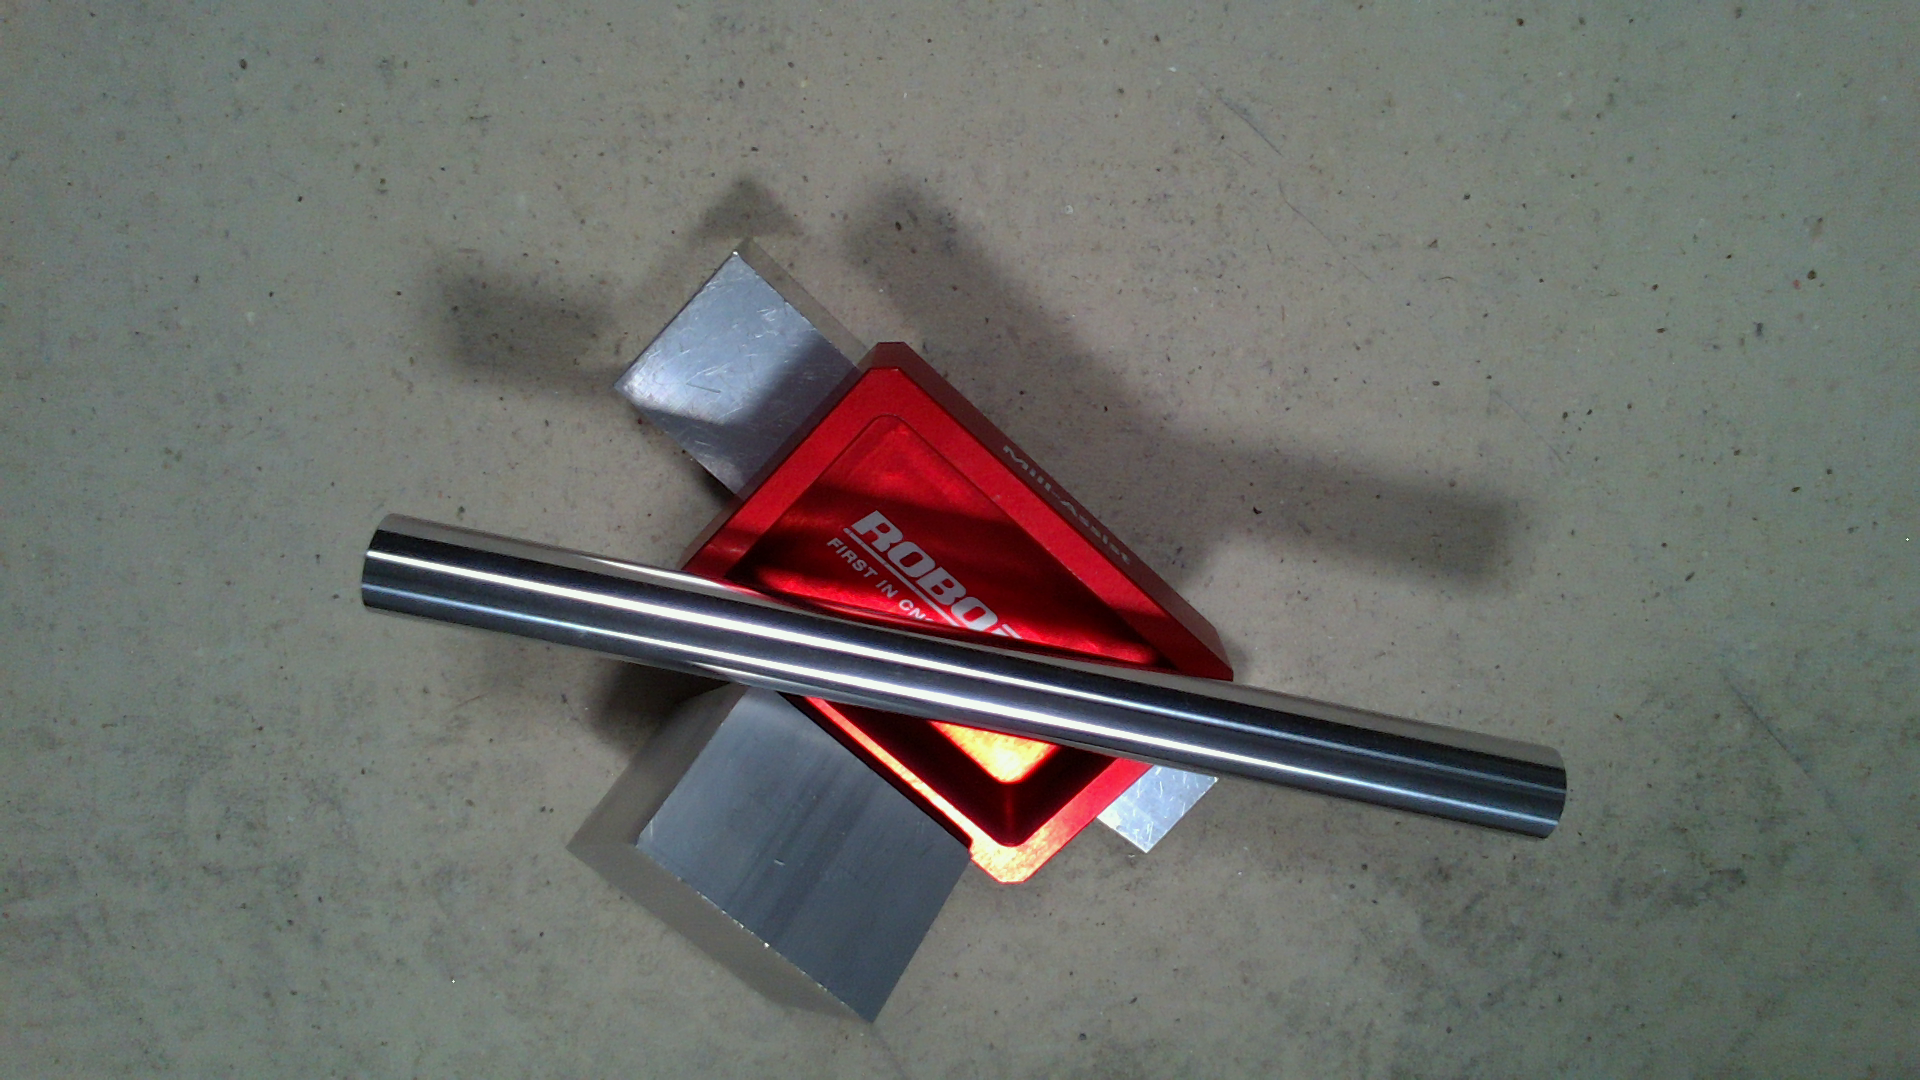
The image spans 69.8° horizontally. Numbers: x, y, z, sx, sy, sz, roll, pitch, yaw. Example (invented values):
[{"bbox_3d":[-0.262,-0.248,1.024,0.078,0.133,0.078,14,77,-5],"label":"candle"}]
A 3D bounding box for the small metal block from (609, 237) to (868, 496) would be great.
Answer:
[{"bbox_3d":[-0.058,-0.046,0.377,0.050,0.025,0.050,43,105,-14],"label":"small metal block"}]

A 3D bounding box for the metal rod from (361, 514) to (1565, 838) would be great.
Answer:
[{"bbox_3d":[0.005,0.036,0.348,0.300,0.025,0.025,12,110,-4],"label":"metal rod"}]

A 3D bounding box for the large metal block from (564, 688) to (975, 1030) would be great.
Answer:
[{"bbox_3d":[-0.056,0.089,0.388,0.080,0.080,0.050,41,63,-13],"label":"large metal block"}]

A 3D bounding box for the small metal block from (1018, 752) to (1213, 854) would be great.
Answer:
[{"bbox_3d":[0.052,0.058,0.415,0.050,0.025,0.050,37,106,-13],"label":"small metal block"}]

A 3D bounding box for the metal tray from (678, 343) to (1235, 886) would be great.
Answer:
[{"bbox_3d":[-0.002,0.023,0.372,0.130,0.030,0.090,42,105,-14],"label":"metal tray"}]
